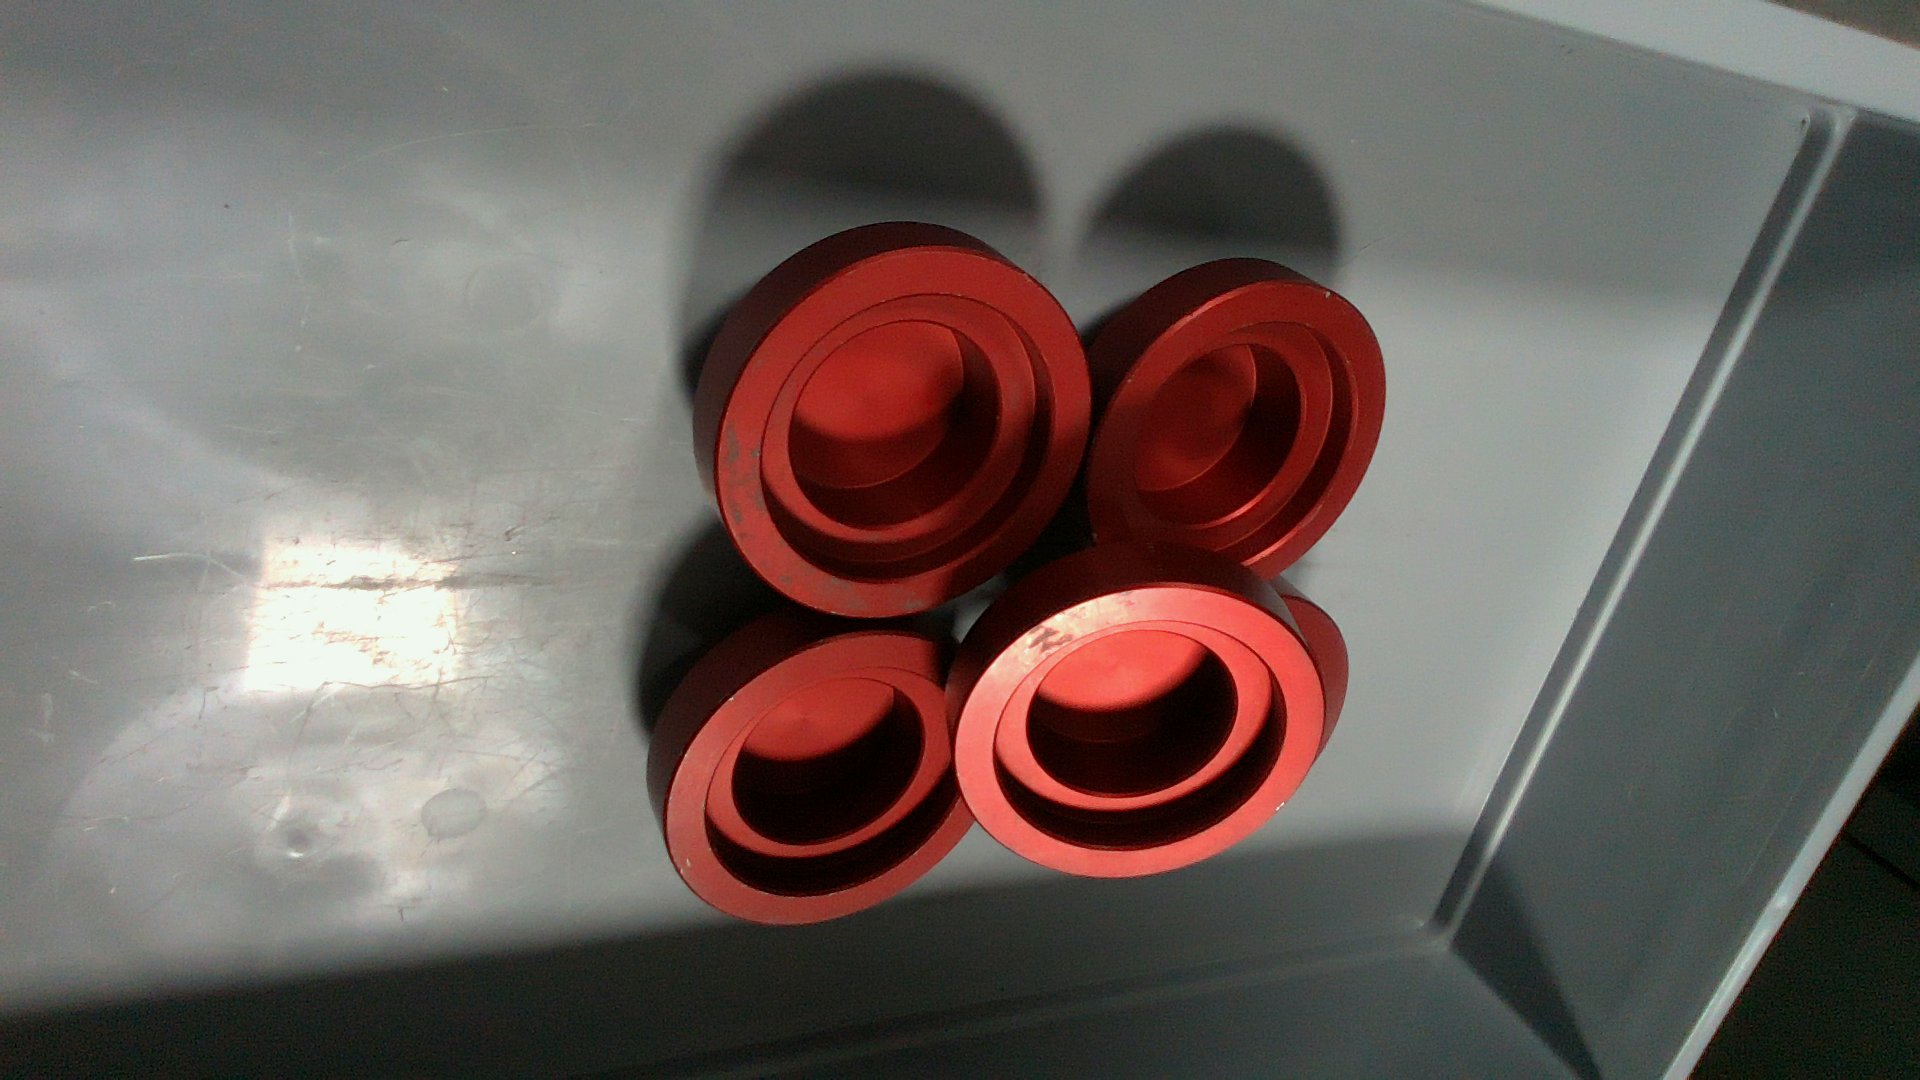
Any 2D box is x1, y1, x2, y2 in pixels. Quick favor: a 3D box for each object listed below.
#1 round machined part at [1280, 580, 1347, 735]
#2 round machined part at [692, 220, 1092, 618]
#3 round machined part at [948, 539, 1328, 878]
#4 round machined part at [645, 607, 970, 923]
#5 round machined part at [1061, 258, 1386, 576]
[{"bbox_3d":[0.073,0.050,0.446,0.098,0.042,0.098,-14,124,-21],"label":"round machined part"},{"bbox_3d":[-0.019,-0.033,0.346,0.098,0.042,0.098,-14,124,-21],"label":"round machined part"},{"bbox_3d":[0.045,0.041,0.371,0.098,0.042,0.098,-3,122,-5],"label":"round machined part"},{"bbox_3d":[-0.041,0.057,0.390,0.098,0.042,0.098,-14,124,-21],"label":"round machined part"},{"bbox_3d":[0.069,-0.034,0.393,0.098,0.042,0.098,-14,124,-21],"label":"round machined part"}]
